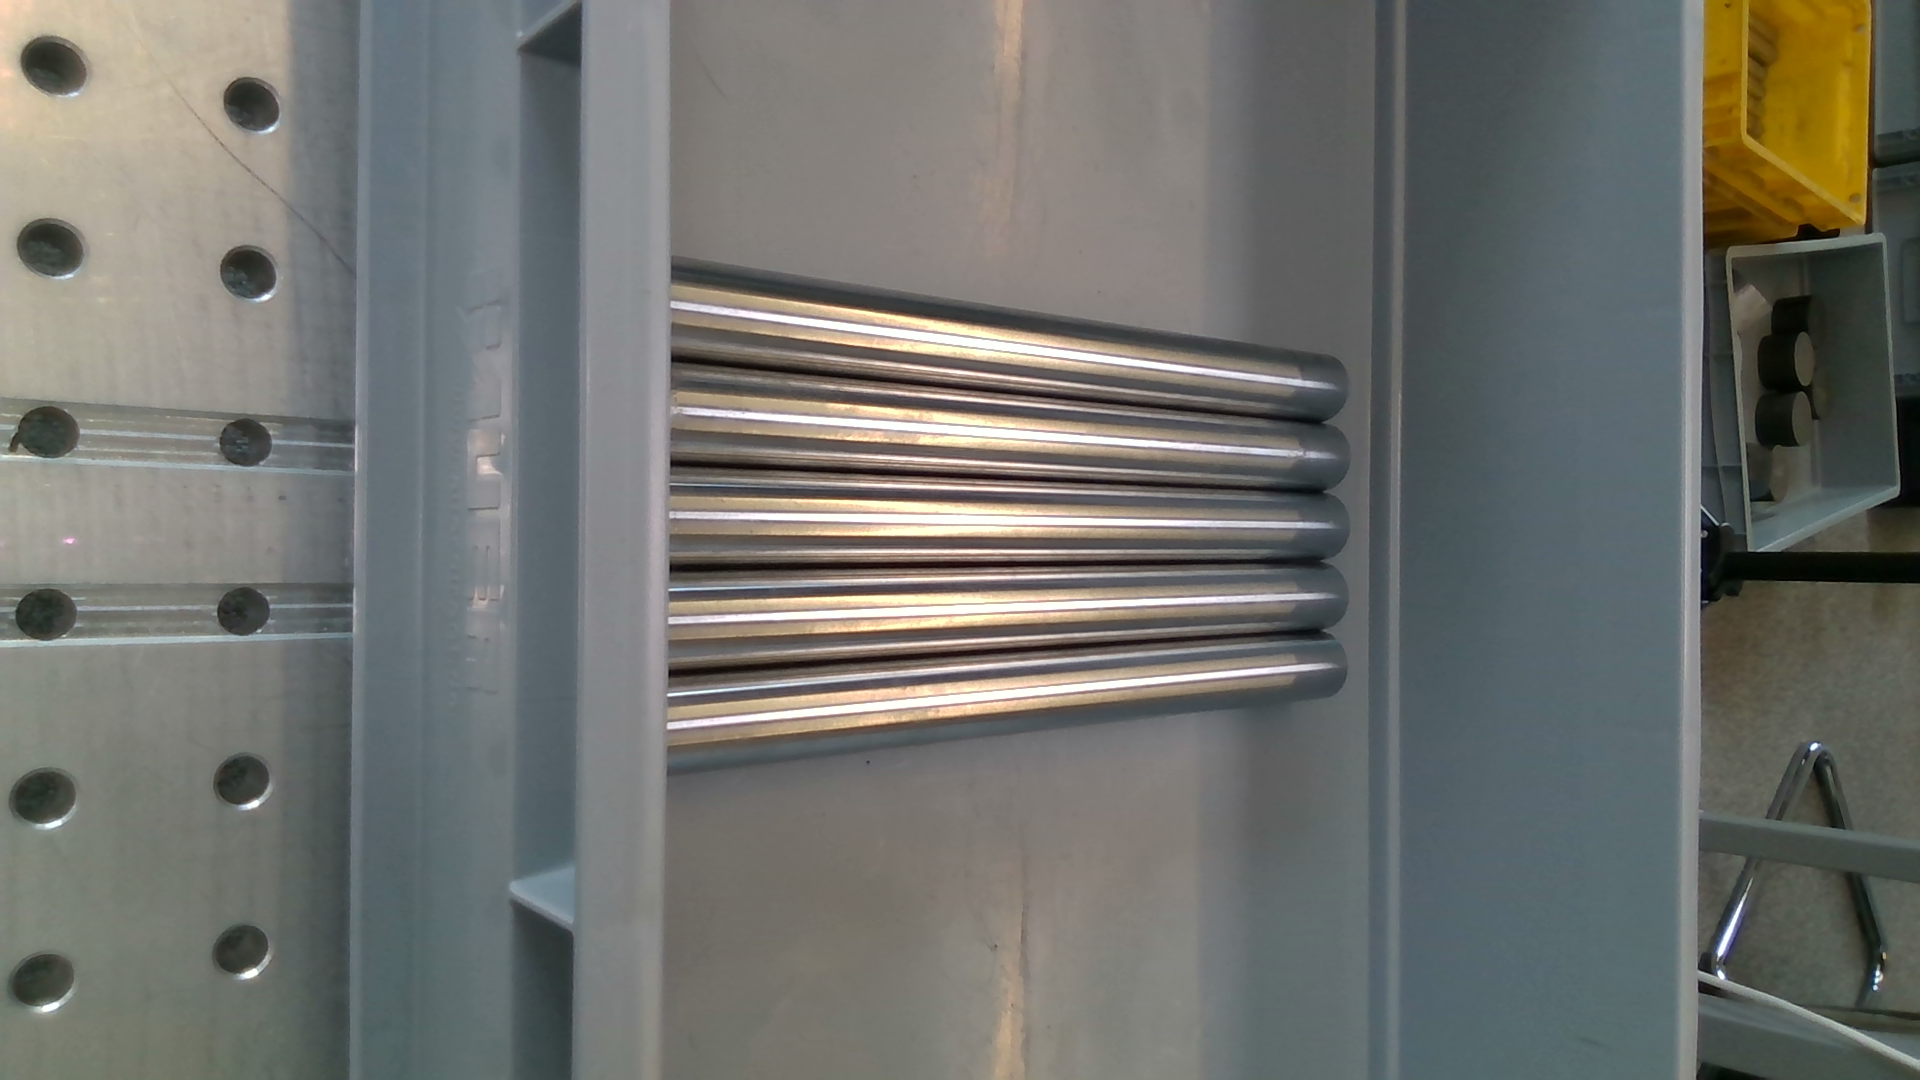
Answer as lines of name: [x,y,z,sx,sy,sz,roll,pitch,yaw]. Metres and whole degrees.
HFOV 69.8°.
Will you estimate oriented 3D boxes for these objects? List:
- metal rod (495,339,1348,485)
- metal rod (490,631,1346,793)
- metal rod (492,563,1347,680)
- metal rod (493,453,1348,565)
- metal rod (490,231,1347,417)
metal rod: [0.016,-0.032,0.404,0.300,0.025,0.025,0,90,-40]
metal rod: [0.015,0.044,0.403,0.300,0.025,0.025,0,90,-40]
metal rod: [0.015,0.019,0.403,0.300,0.025,0.025,0,90,-40]
metal rod: [0.016,-0.007,0.403,0.300,0.025,0.025,0,90,-40]
metal rod: [0.015,-0.056,0.403,0.300,0.025,0.025,0,90,-40]
